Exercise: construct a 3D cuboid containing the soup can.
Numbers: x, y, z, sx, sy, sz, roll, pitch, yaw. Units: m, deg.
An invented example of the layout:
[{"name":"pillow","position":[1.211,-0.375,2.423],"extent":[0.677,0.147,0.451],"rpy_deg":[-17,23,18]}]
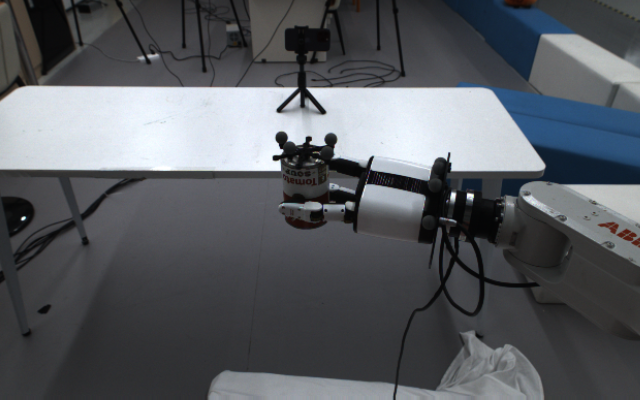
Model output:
[{"name":"soup can","position":[-0.018,-0.019,0.685],"extent":[0.067,0.101,0.067],"rpy_deg":[-2,34,1]}]
